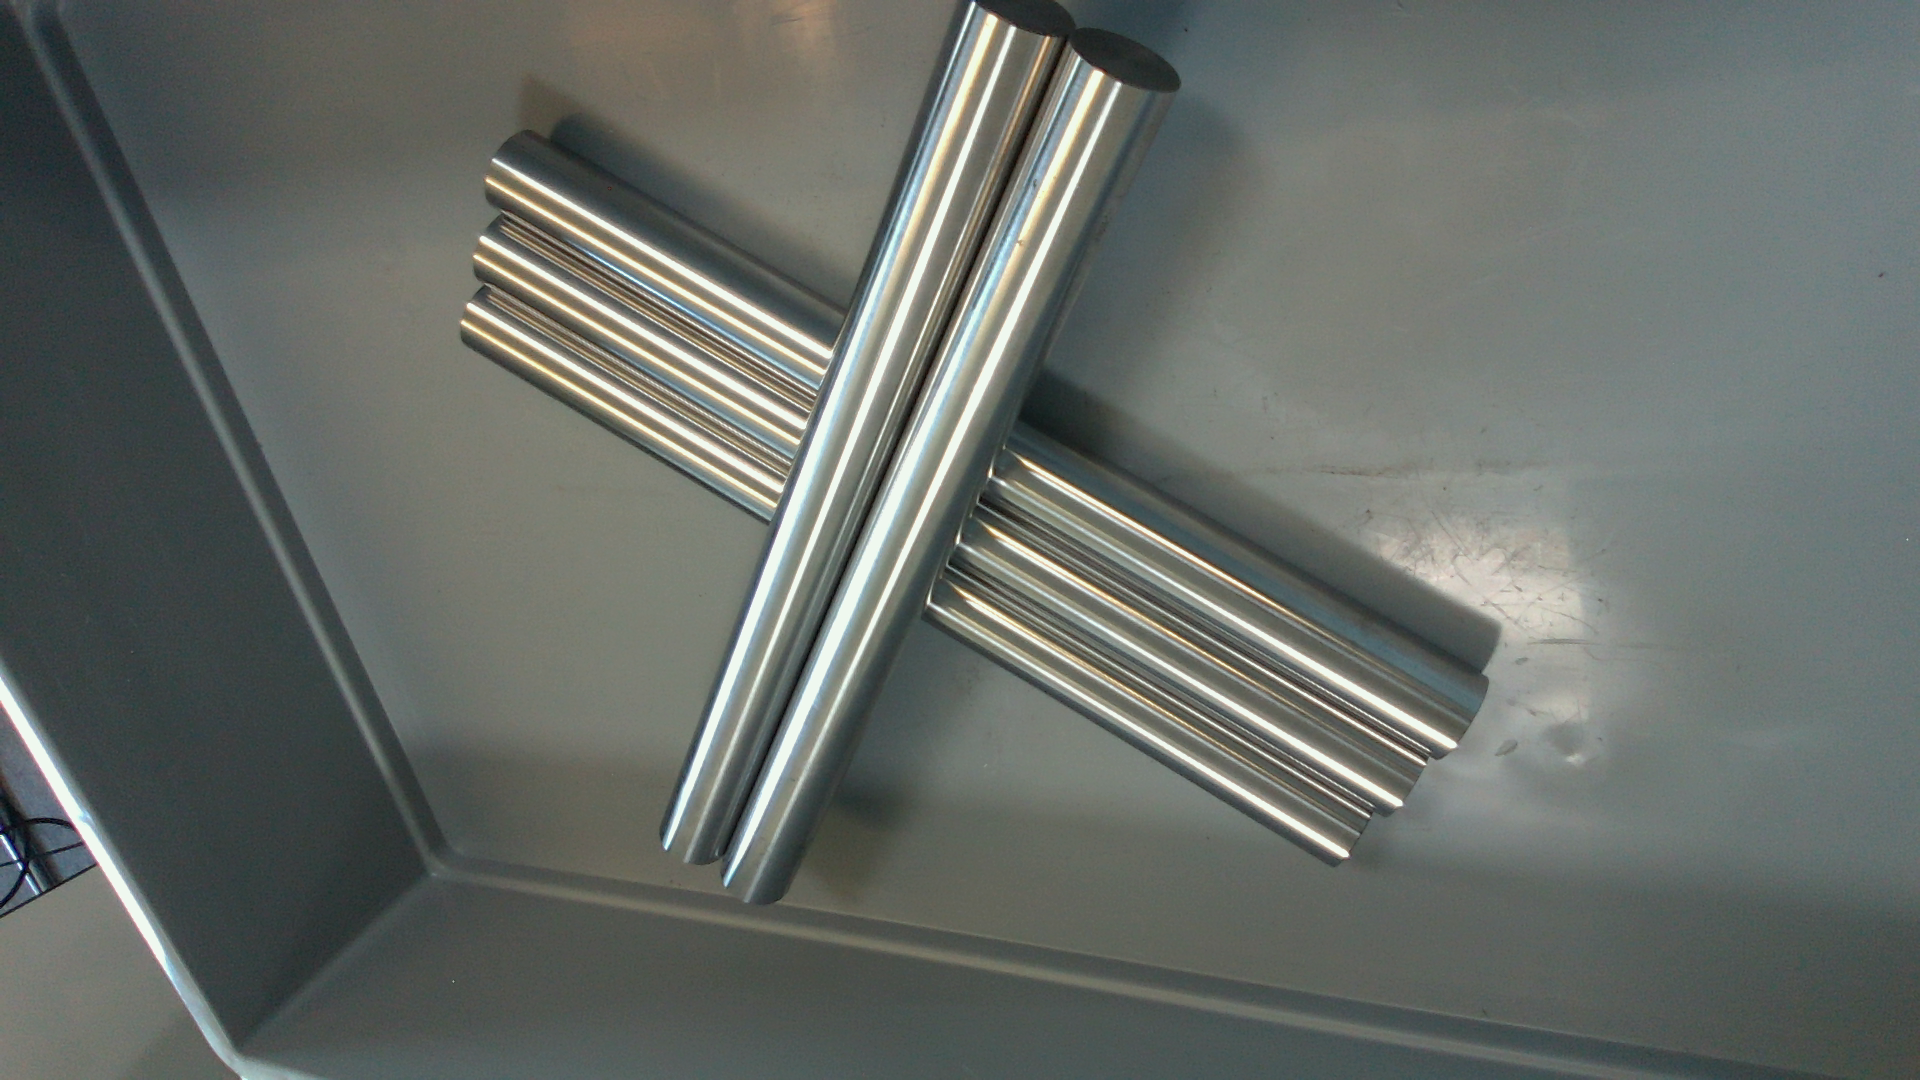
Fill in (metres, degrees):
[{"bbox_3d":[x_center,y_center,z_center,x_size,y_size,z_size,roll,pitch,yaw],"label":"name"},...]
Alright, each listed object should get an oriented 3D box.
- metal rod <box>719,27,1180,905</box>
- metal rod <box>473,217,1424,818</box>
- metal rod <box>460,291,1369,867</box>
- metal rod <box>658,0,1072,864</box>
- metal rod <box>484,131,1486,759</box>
[{"bbox_3d":[-0.018,0.007,0.373,0.025,0.025,0.299,32,129,7],"label":"metal rod"},{"bbox_3d":[-0.009,-0.012,0.389,0.300,0.025,0.025,30,129,8],"label":"metal rod"},{"bbox_3d":[-0.018,0.005,0.404,0.300,0.025,0.025,30,129,8],"label":"metal rod"},{"bbox_3d":[-0.040,-0.005,0.377,0.025,0.025,0.299,32,129,7],"label":"metal rod"},{"bbox_3d":[0.000,-0.030,0.373,0.300,0.025,0.025,31,129,8],"label":"metal rod"}]
